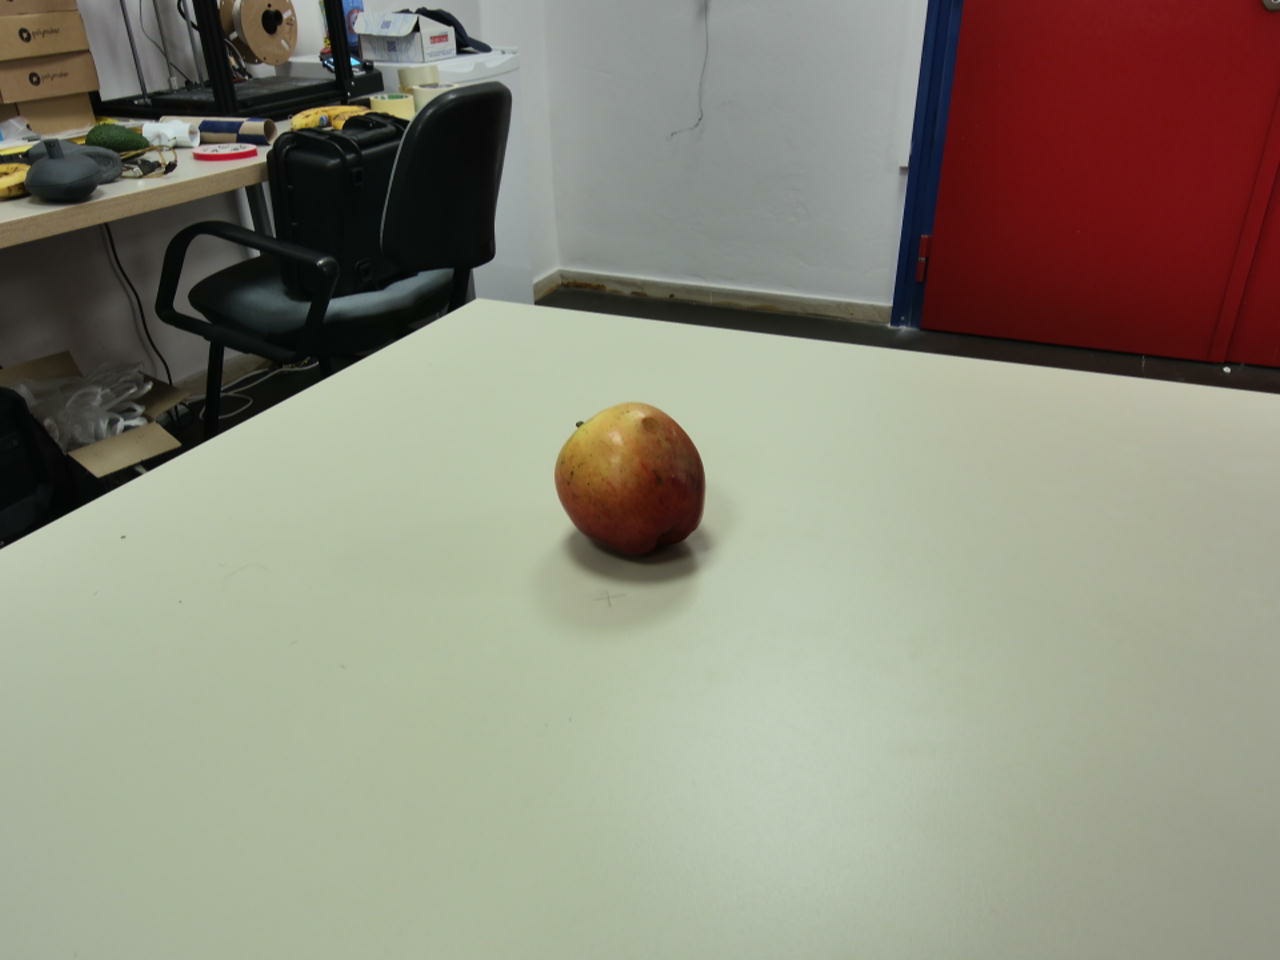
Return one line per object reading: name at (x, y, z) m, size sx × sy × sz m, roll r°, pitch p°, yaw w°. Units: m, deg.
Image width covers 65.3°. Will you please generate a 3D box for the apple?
apple at (-0.006, -0.002, 0.583) m, size 0.086 × 0.084 × 0.093 m, roll -4°, pitch 26°, yaw -11°
